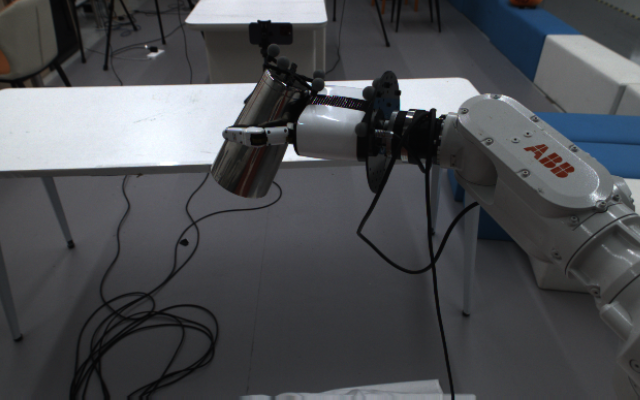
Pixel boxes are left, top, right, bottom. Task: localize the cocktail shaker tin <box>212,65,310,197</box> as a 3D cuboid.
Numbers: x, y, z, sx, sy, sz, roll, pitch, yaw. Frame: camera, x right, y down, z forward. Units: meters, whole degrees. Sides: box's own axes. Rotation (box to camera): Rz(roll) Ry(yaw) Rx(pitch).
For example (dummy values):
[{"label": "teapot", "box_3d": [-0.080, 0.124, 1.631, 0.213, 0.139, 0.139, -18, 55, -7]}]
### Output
[{"label": "cocktail shaker tin", "box_3d": [-0.080, -0.101, 0.686, 0.093, 0.170, 0.093, 25, 29, -15]}]
